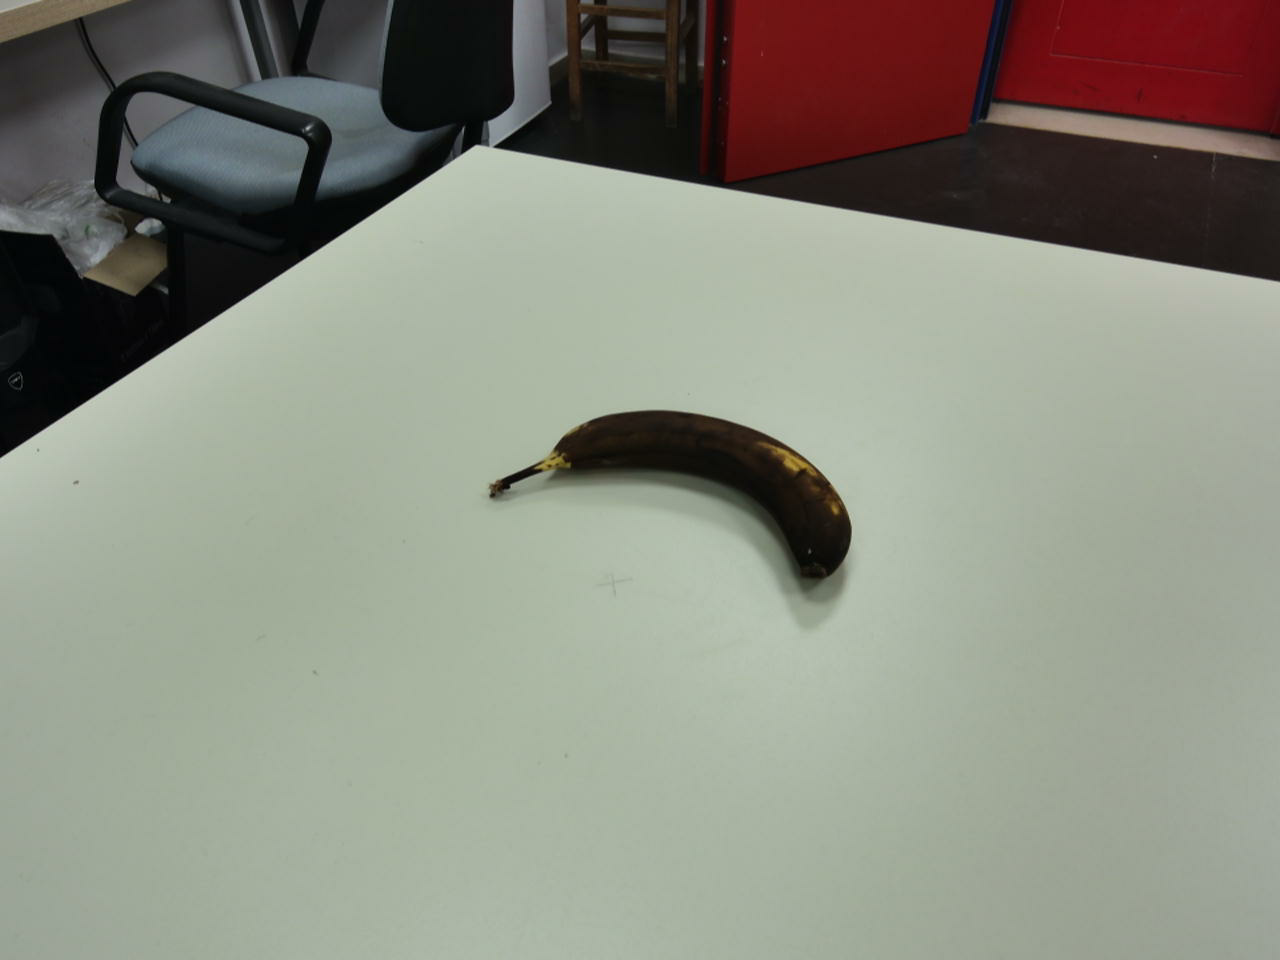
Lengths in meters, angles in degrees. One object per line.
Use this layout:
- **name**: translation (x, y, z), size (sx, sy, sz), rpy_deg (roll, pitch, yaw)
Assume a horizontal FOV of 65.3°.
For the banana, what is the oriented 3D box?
- **banana**: translation (0.023, -0.004, 0.517), size (0.188, 0.034, 0.091), rpy_deg (16, 42, 21)
